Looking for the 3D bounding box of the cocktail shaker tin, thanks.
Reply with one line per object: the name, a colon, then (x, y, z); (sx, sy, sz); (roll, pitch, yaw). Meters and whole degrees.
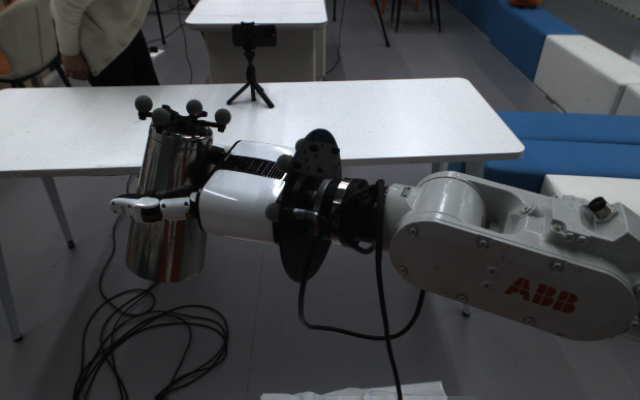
cocktail shaker tin: (-0.165, -0.004, 0.550); (0.093, 0.170, 0.093); (12, 24, -5)
